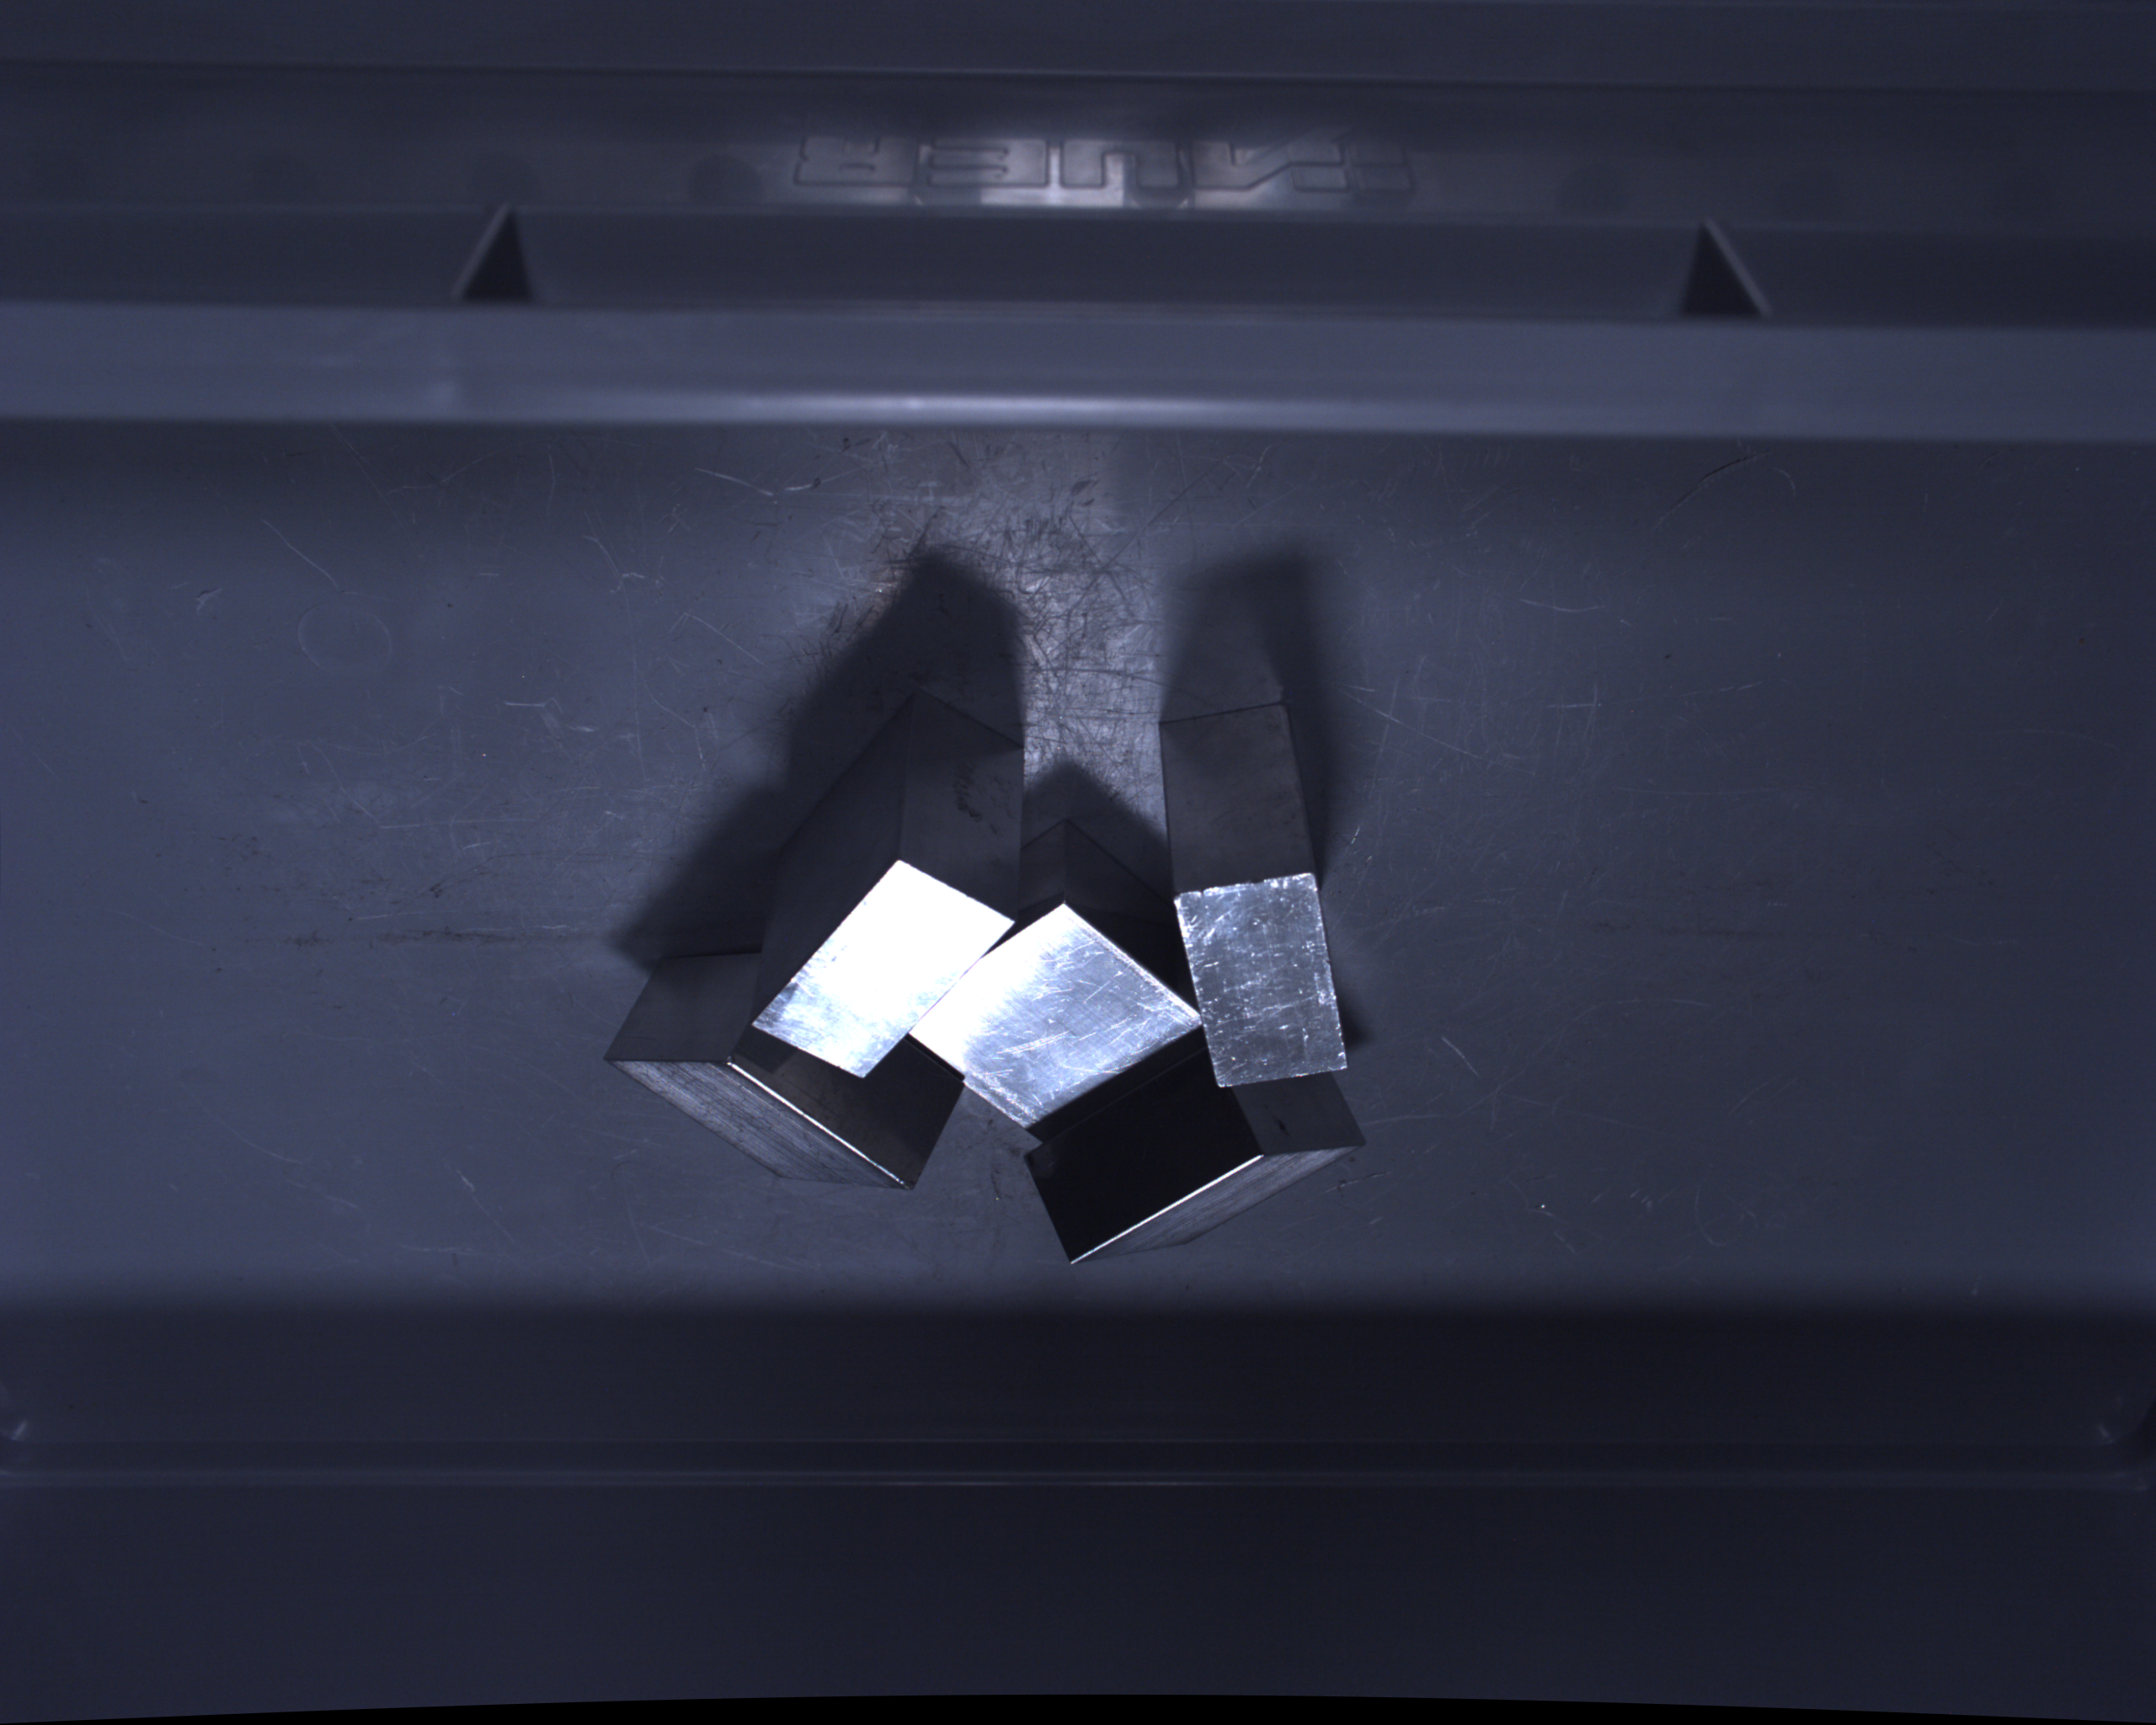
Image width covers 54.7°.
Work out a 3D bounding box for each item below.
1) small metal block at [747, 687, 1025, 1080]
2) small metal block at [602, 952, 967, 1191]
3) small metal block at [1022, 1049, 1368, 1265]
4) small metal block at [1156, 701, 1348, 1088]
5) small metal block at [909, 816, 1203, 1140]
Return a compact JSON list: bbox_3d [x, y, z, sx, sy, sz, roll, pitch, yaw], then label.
[{"bbox_3d":[-0.035,0.004,0.392,0.025,0.050,0.050,30,124,-23],"label":"small metal block"},{"bbox_3d":[-0.060,0.043,0.427,0.050,0.025,0.050,41,152,-30],"label":"small metal block"},{"bbox_3d":[0.025,0.061,0.442,0.050,0.025,0.050,-34,160,24],"label":"small metal block"},{"bbox_3d":[0.033,0.006,0.395,0.025,0.050,0.050,-9,130,6],"label":"small metal block"},{"bbox_3d":[-0.005,0.026,0.428,0.050,0.025,0.050,-34,123,25],"label":"small metal block"}]
